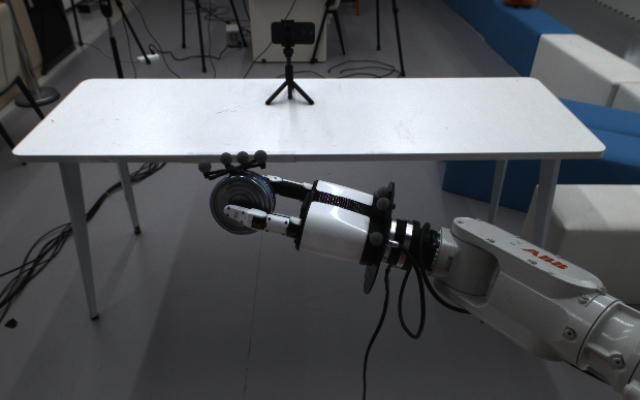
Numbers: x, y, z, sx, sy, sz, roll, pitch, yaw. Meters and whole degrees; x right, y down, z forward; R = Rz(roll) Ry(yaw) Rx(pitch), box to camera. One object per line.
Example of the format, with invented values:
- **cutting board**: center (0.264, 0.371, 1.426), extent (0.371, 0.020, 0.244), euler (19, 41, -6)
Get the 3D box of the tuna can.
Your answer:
- **tuna can**: center (-0.103, 0.010, 0.661), extent (0.085, 0.085, 0.034), euler (6, 18, 5)
